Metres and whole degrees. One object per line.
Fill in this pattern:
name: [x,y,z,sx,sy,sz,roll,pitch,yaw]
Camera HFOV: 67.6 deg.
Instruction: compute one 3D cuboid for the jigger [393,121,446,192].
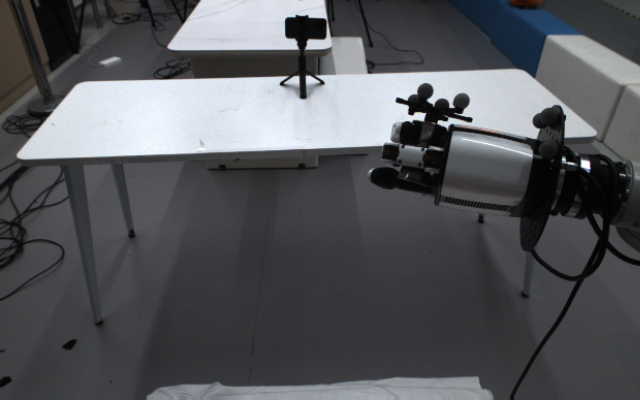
jigger: [0.117,-0.053,0.553,0.043,0.071,0.043,16,2,-1]
